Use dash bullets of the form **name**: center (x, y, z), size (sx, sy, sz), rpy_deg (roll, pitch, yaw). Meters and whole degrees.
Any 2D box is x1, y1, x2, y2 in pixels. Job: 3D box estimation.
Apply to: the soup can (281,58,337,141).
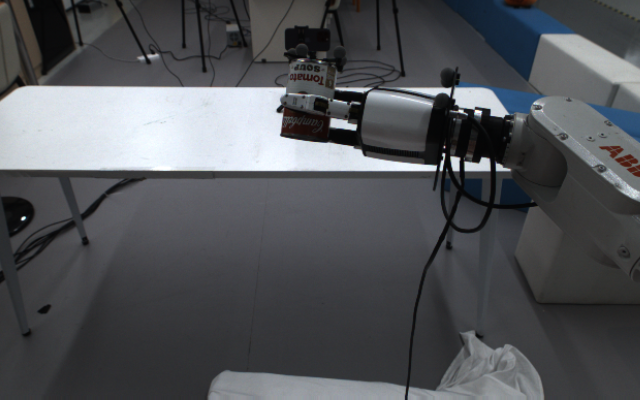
- **soup can**: center (-0.016, -0.135, 0.663), size (0.067, 0.101, 0.067), rpy_deg (7, 4, 0)
